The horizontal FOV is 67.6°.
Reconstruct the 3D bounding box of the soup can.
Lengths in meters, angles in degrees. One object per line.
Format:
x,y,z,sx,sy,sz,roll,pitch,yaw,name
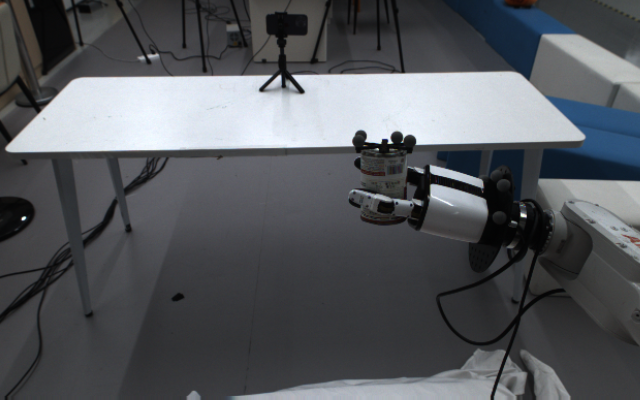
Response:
0.093,-0.022,0.692,0.067,0.101,0.067,-2,17,0,soup can
